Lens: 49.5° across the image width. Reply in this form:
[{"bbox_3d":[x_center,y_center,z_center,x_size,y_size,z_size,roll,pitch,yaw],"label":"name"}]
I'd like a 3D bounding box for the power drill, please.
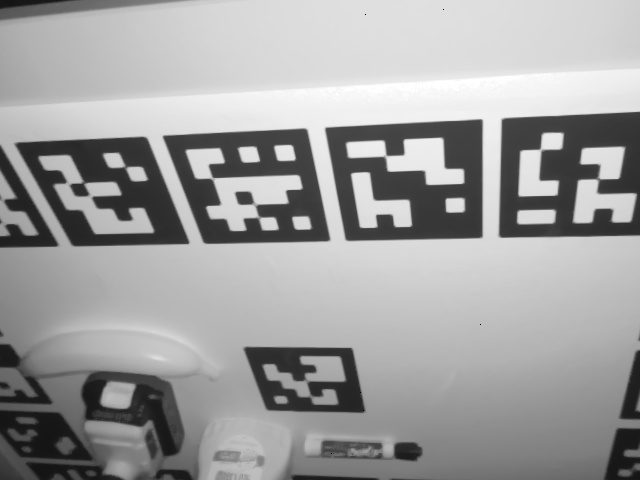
[{"bbox_3d":[-0.184,0.196,0.626,0.057,0.189,0.182,9,132,5],"label":"power drill"}]

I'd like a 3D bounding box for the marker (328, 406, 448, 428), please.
[{"bbox_3d":[0.069,0.181,0.708,0.120,0.020,0.019,-1,127,9],"label":"marker"}]

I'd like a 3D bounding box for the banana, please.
[{"bbox_3d":[-0.175,0.068,0.646,0.197,0.039,0.073,3,127,4],"label":"banana"}]

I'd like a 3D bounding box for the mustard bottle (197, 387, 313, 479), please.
[{"bbox_3d":[-0.068,0.232,0.658,0.096,0.194,0.058,7,129,6],"label":"mustard bottle"}]
